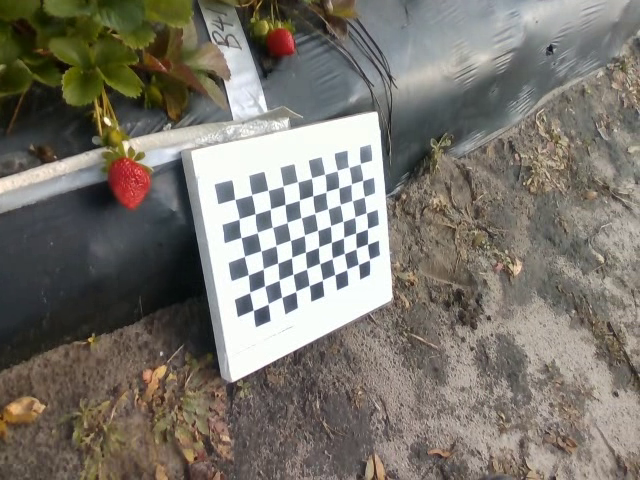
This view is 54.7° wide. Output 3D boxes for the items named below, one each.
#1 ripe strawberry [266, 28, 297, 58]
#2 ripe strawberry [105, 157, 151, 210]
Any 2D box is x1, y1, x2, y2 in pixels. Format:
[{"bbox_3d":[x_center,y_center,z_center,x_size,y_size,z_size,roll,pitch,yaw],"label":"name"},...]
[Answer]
[{"bbox_3d":[-0.041,-0.226,0.689,0.037,0.031,0.048,-3,46,-42],"label":"ripe strawberry"},{"bbox_3d":[-0.171,-0.050,0.539,0.030,0.053,0.047,-18,-34,35],"label":"ripe strawberry"}]
